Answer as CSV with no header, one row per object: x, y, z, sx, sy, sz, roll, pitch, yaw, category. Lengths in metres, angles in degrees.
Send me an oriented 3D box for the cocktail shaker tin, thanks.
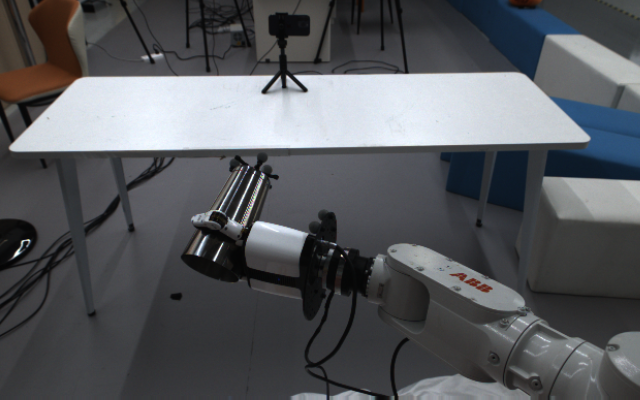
-0.140,0.031,0.754,0.093,0.093,0.170,13,60,15,cocktail shaker tin
